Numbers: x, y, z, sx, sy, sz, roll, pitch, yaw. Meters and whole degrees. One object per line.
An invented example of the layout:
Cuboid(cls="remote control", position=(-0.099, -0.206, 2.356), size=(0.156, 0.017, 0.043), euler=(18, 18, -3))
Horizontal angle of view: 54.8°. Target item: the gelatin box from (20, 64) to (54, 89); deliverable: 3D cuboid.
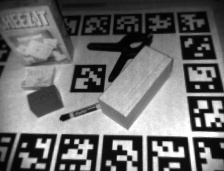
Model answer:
Cuboid(cls="gelatin box", position=(-0.228, -0.028, 0.661), size=(0.089, 0.030, 0.073), euler=(-1, 64, 6))

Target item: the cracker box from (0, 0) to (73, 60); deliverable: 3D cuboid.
Cuboid(cls="cracker box", position=(-0.219, -0.163, 0.618), size=(0.164, 0.215, 0.071), euler=(-3, 61, 4))

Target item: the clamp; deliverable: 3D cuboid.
Cuboid(cls="clamp", position=(0.030, -0.123, 0.675), size=(0.203, 0.037, 0.164), euler=(-27, 63, -8))

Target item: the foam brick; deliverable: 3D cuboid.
Cuboid(cls="foam brick", position=(-0.195, 0.037, 0.607), size=(0.078, 0.052, 0.052), euler=(-22, 63, -5))

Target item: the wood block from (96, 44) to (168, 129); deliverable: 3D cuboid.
Cuboid(cls="wood block", position=(0.055, -0.001, 0.582), size=(0.089, 0.091, 0.207), euler=(32, 68, 24))

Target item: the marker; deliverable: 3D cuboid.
Cuboid(cls="marker", position=(-0.106, 0.071, 0.596), size=(0.121, 0.020, 0.019), euler=(-18, 63, -3))
